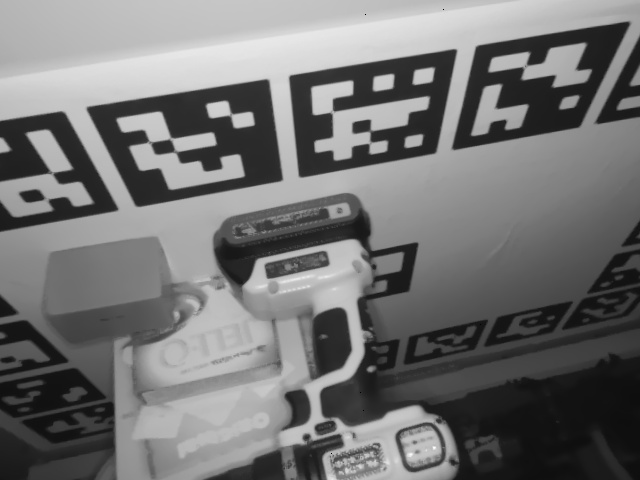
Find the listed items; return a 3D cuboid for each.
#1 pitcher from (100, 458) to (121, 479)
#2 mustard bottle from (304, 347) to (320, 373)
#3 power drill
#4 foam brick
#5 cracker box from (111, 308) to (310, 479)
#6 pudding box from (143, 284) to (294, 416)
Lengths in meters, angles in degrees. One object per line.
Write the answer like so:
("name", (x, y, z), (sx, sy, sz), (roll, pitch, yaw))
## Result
("pitcher", (-0.122, 0.232, 0.653), (0.190, 0.243, 0.132), (-8, 144, -12))
("mustard bottle", (0.007, 0.199, 0.675), (0.097, 0.192, 0.057), (-2, 141, -16))
("power drill", (-0.013, 0.094, 0.491), (0.185, 0.188, 0.057), (-10, 147, -5))
("foam brick", (-0.150, 0.034, 0.535), (0.078, 0.051, 0.052), (-9, 142, -8))
("cracker box", (-0.080, 0.159, 0.580), (0.165, 0.214, 0.071), (-13, 146, -6))
("pudding box", (-0.085, 0.087, 0.573), (0.114, 0.090, 0.038), (-12, 146, -9))
